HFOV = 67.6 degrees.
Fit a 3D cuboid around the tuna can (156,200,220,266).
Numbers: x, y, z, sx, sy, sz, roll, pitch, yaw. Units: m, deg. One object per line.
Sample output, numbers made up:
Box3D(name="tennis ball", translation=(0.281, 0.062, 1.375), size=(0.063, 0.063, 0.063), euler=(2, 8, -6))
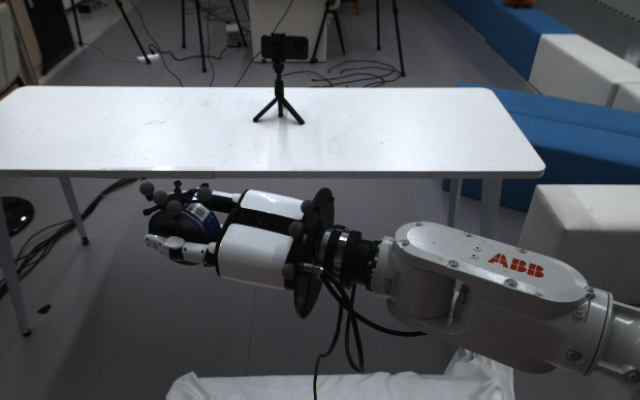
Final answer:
Box3D(name="tuna can", translation=(-0.169, 0.040, 0.614), size=(0.085, 0.085, 0.034), euler=(11, 33, 13))
